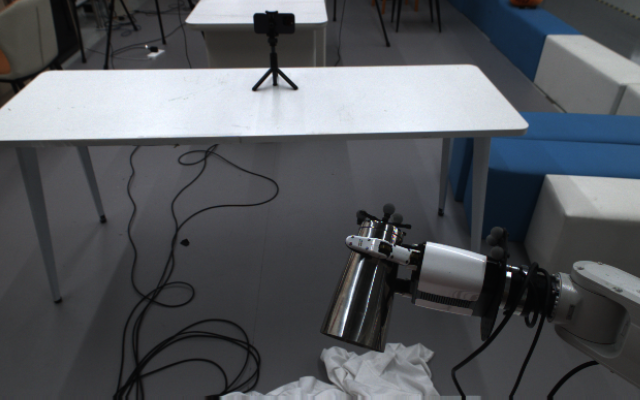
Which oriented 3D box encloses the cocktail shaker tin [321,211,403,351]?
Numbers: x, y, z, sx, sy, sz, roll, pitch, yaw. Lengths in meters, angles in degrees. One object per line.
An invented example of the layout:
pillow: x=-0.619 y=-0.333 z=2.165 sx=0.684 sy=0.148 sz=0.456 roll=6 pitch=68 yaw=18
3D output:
cocktail shaker tin: x=0.068 y=0.117 z=0.694 sx=0.093 sy=0.093 sz=0.170 roll=13 pitch=71 yaw=16
